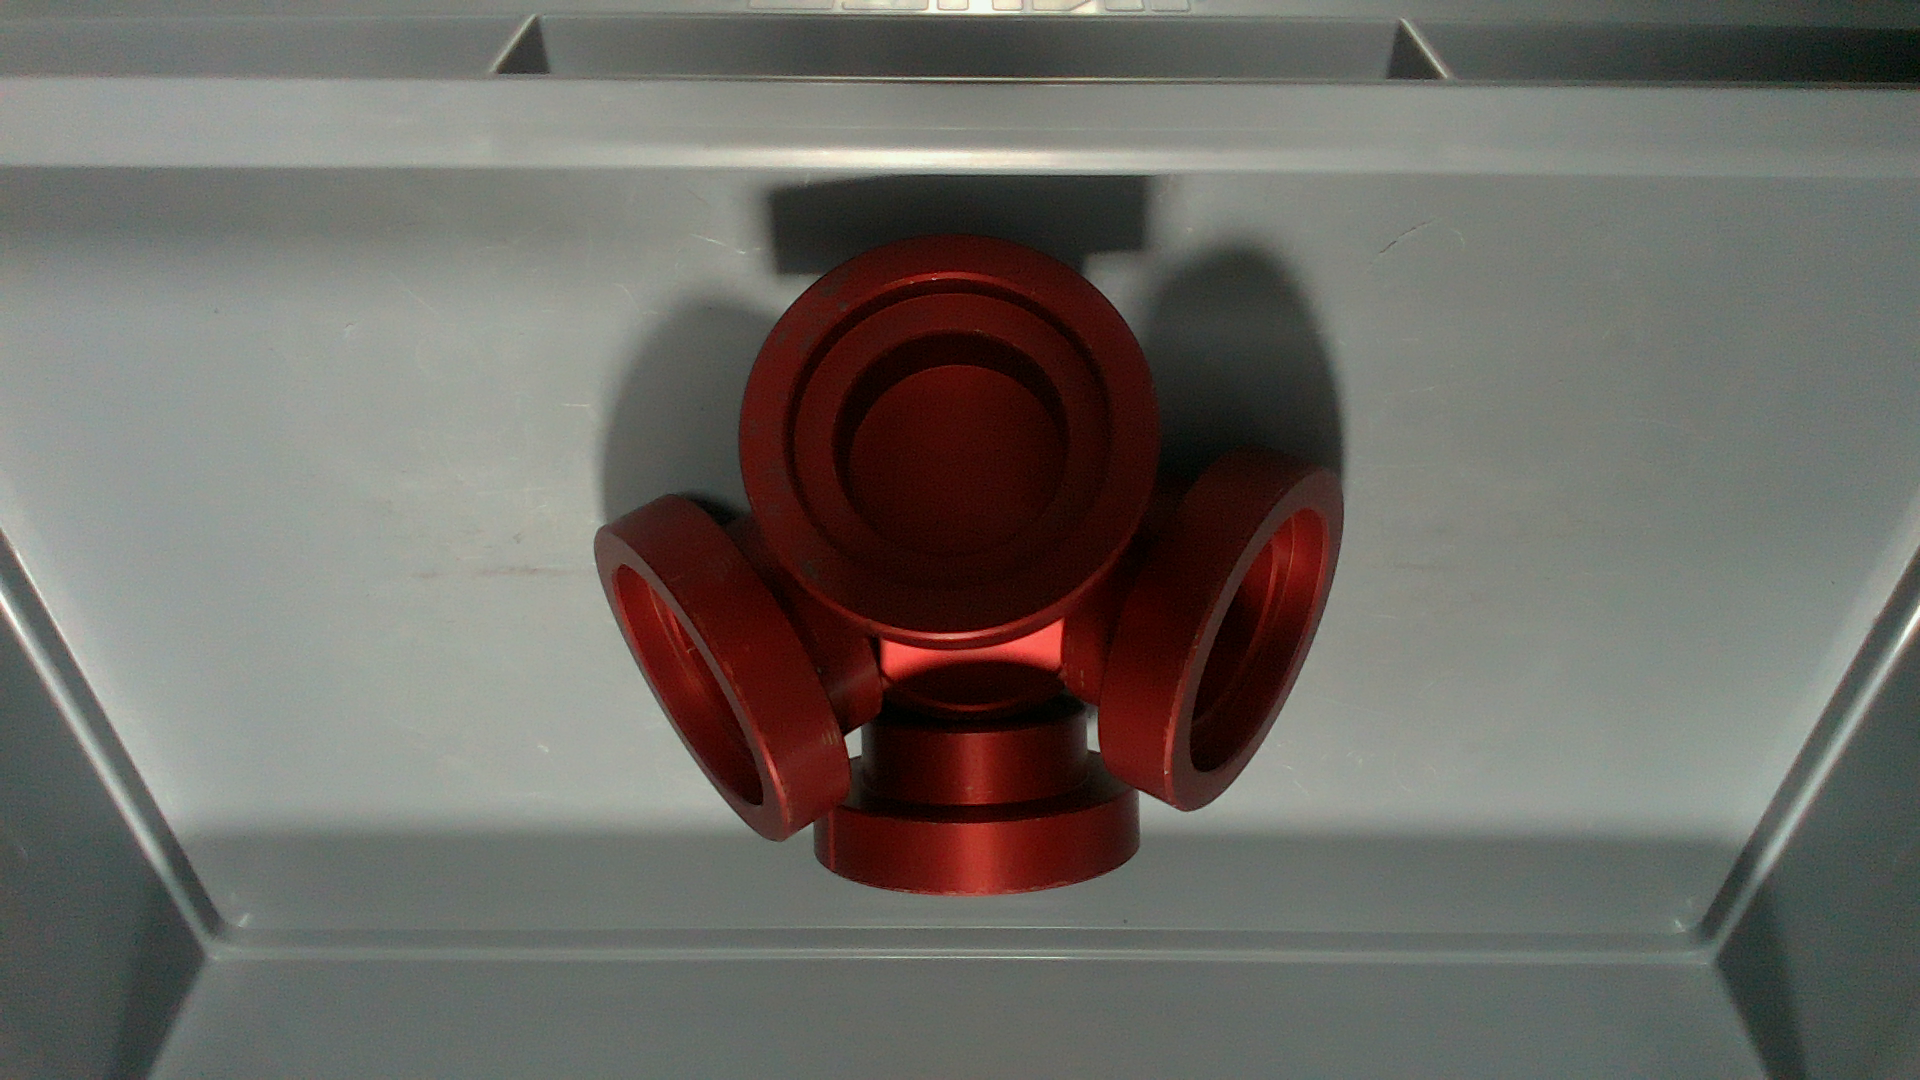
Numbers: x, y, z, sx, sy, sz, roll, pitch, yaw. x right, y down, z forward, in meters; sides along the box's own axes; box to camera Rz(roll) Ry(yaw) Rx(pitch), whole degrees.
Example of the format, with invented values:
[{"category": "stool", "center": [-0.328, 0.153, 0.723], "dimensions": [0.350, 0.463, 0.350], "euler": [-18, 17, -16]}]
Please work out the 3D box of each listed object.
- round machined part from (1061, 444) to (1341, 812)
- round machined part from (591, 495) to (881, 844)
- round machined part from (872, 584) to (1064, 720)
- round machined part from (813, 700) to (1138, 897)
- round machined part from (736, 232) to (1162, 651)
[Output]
[{"category": "round machined part", "center": [0.063, 0.020, 0.372], "dimensions": [0.042, 0.098, 0.098], "euler": [23, 137, 28]}, {"category": "round machined part", "center": [-0.058, 0.031, 0.379], "dimensions": [0.042, 0.098, 0.098], "euler": [-30, 135, -24]}, {"category": "round machined part", "center": [0.003, 0.013, 0.388], "dimensions": [0.098, 0.042, 0.098], "euler": [0, 130, 0]}, {"category": "round machined part", "center": [0.004, 0.071, 0.413], "dimensions": [0.098, 0.098, 0.042], "euler": [-1, 94, 1]}, {"category": "round machined part", "center": [-0.002, -0.021, 0.335], "dimensions": [0.098, 0.098, 0.042], "euler": [-3, 168, 2]}]
